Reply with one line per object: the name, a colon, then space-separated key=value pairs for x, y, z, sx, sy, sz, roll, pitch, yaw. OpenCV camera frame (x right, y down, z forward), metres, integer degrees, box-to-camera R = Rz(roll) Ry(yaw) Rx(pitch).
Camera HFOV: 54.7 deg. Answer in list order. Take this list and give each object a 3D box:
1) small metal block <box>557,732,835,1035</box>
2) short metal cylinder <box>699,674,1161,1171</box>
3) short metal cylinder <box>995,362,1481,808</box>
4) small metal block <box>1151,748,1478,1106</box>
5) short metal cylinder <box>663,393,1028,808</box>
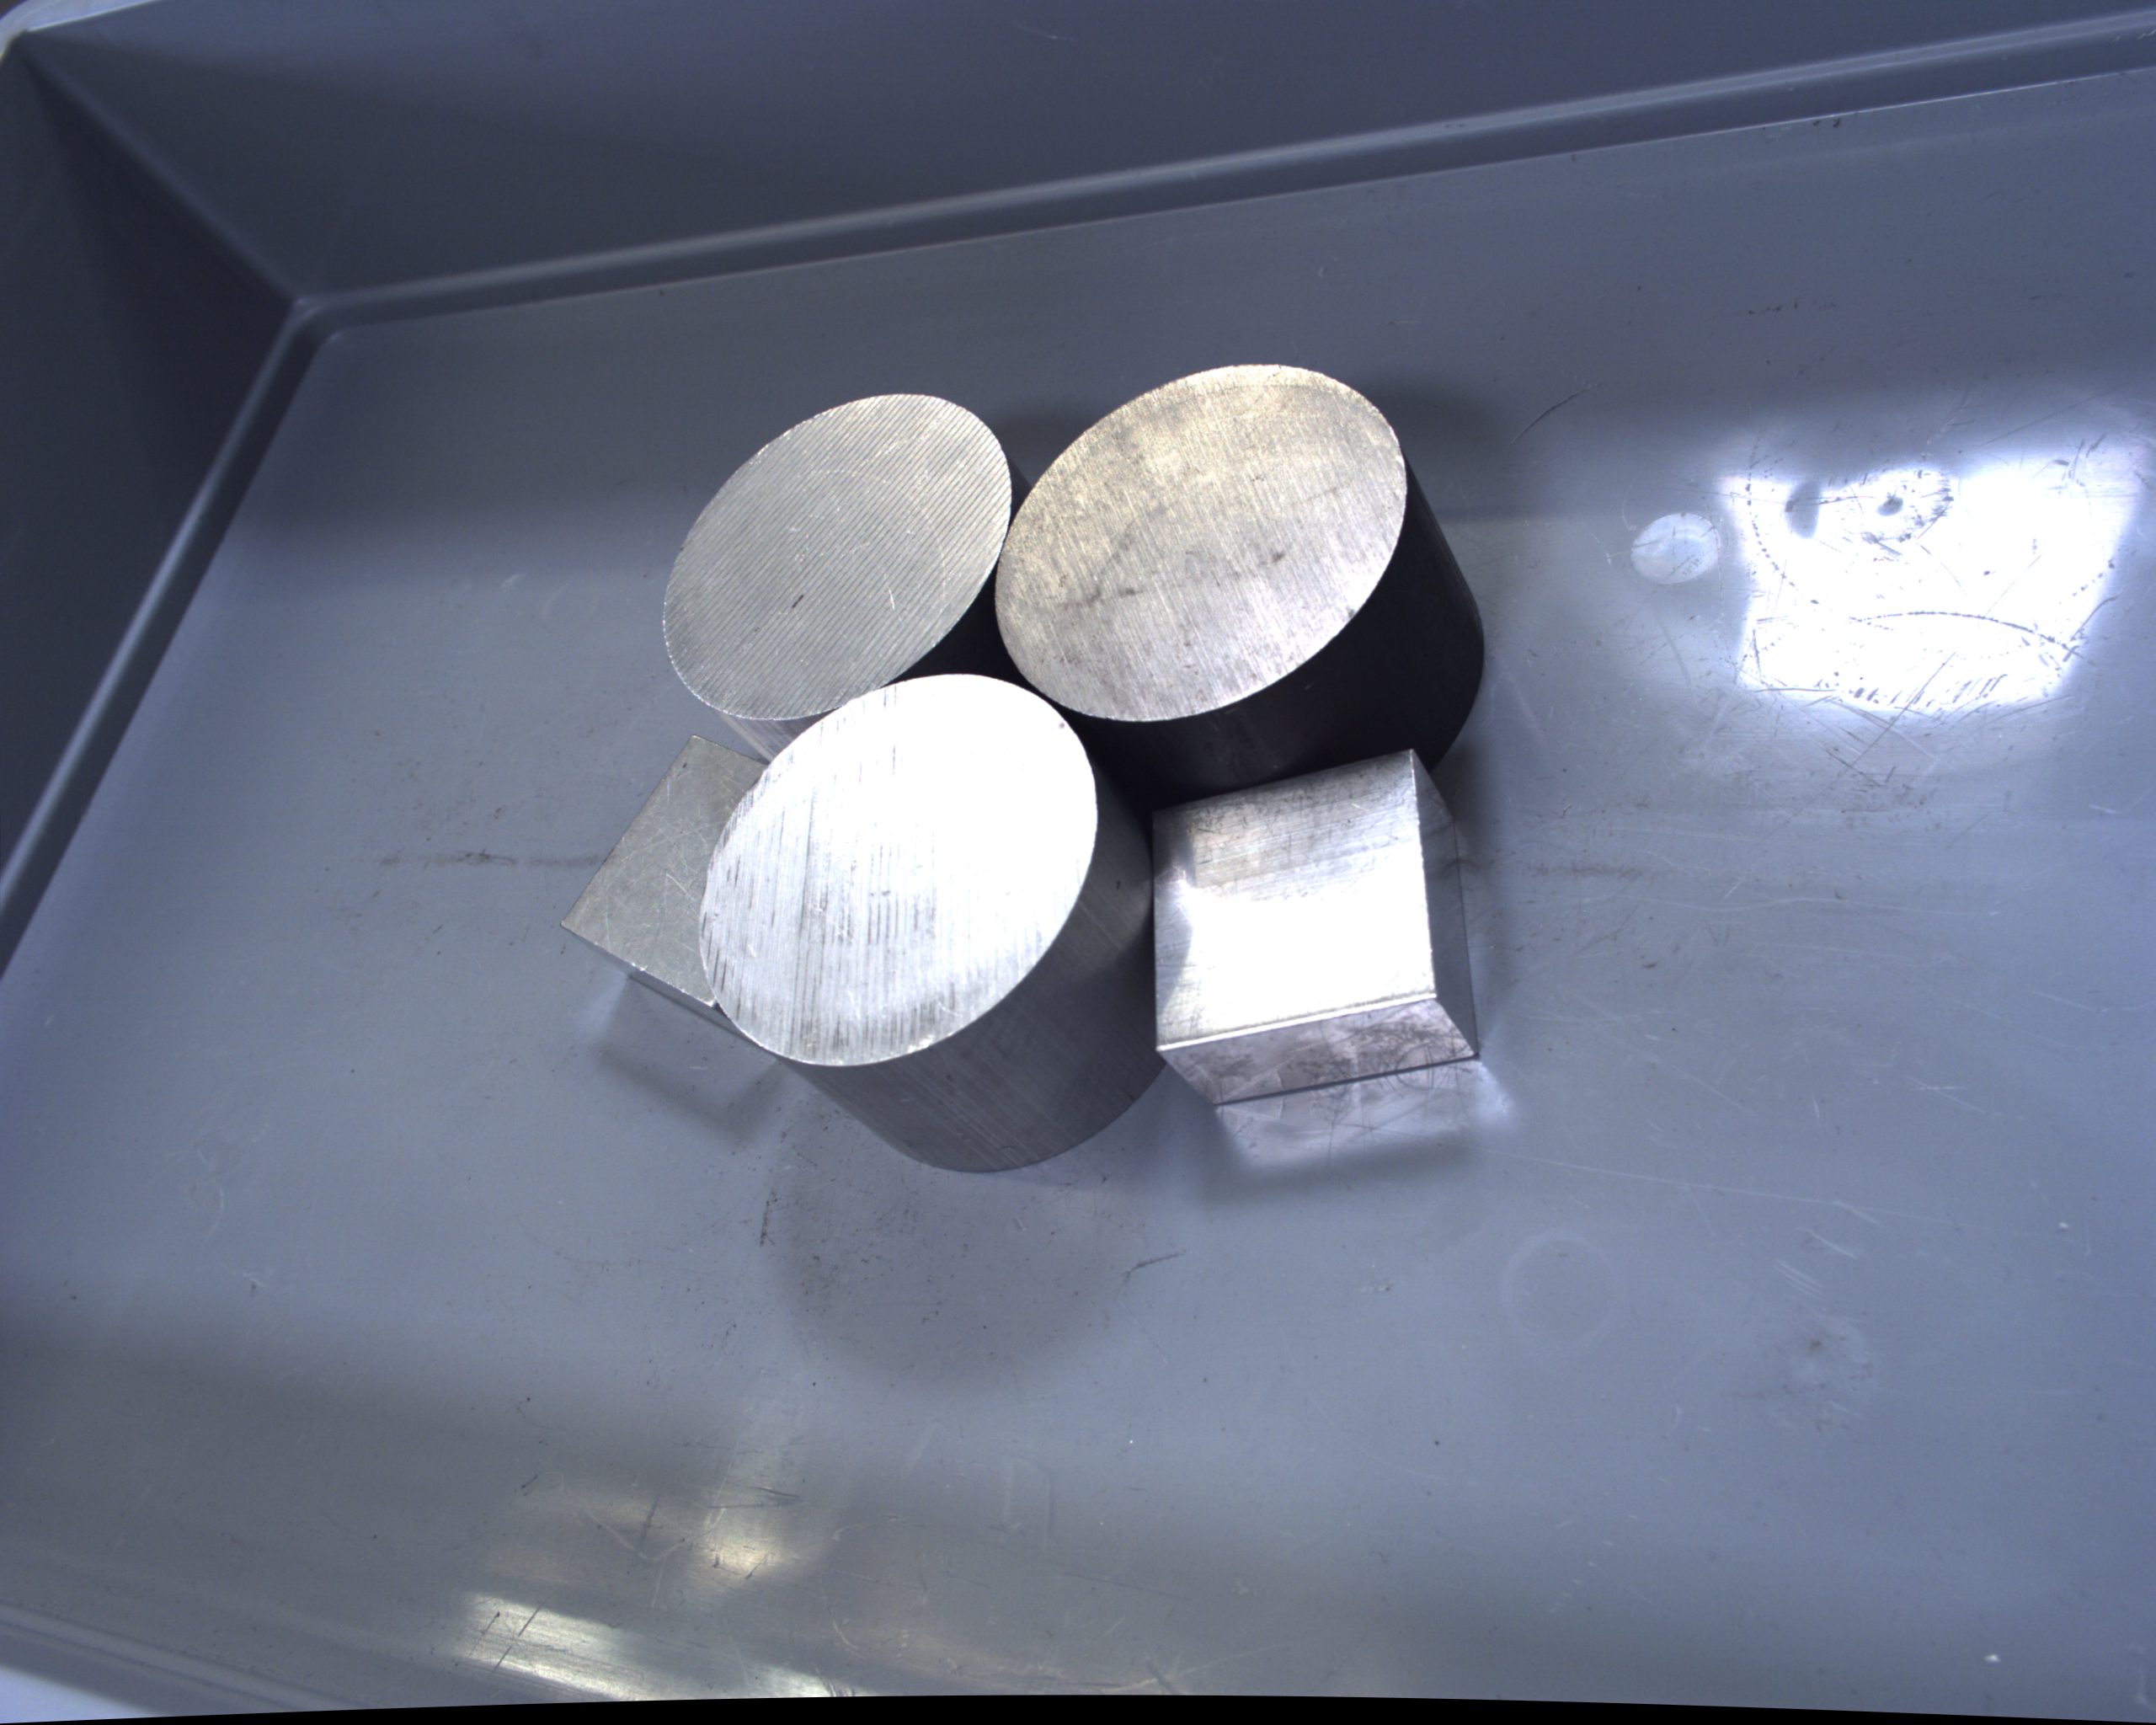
small metal block: x=-0.072 y=0.006 z=0.438 sx=0.050 sy=0.025 sz=0.050 roll=23 pitch=74 yaw=36
short metal cylinder: x=-0.023 y=0.012 z=0.393 sx=0.080 sy=0.050 sz=0.080 roll=-13 pitch=56 yaw=21
short metal cylinder: x=0.031 y=-0.048 z=0.401 sx=0.080 sy=0.050 sz=0.080 roll=-13 pitch=56 yaw=21
small metal block: x=0.042 y=0.012 z=0.375 sx=0.050 sy=0.025 sz=0.050 roll=-13 pitch=56 yaw=21
short metal cylinder: x=-0.039 y=-0.051 z=0.439 sx=0.080 sy=0.050 sz=0.080 roll=-13 pitch=56 yaw=21
